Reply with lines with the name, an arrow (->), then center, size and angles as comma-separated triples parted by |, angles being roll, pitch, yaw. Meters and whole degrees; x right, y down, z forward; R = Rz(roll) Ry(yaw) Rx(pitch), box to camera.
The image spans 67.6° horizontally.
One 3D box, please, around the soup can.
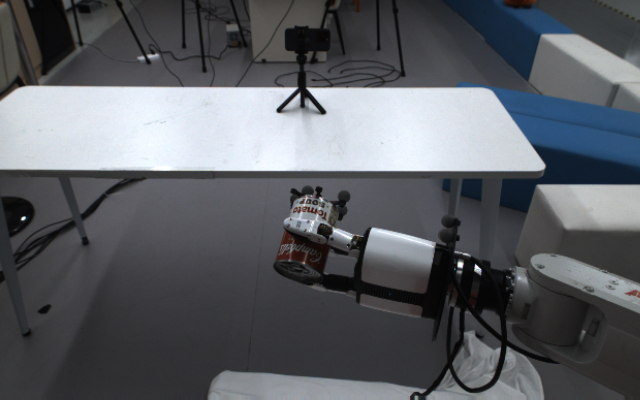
soup can -> -0.015, 0.052, 0.655 | 0.067, 0.067, 0.101 | 9, 61, 10
